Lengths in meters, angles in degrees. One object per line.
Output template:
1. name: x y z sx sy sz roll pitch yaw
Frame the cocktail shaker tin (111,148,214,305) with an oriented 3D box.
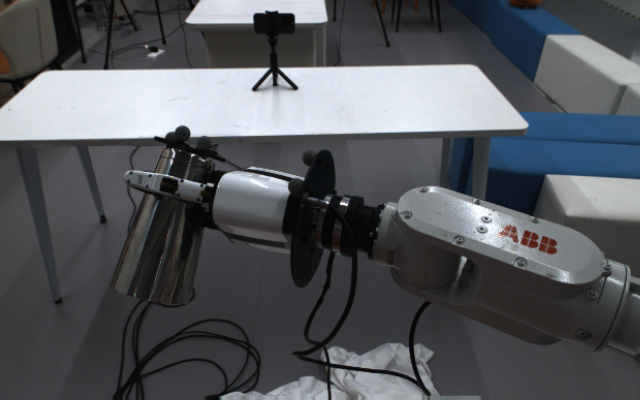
1. cocktail shaker tin: -0.179 0.028 0.582 0.093 0.170 0.093 15 -5 1
